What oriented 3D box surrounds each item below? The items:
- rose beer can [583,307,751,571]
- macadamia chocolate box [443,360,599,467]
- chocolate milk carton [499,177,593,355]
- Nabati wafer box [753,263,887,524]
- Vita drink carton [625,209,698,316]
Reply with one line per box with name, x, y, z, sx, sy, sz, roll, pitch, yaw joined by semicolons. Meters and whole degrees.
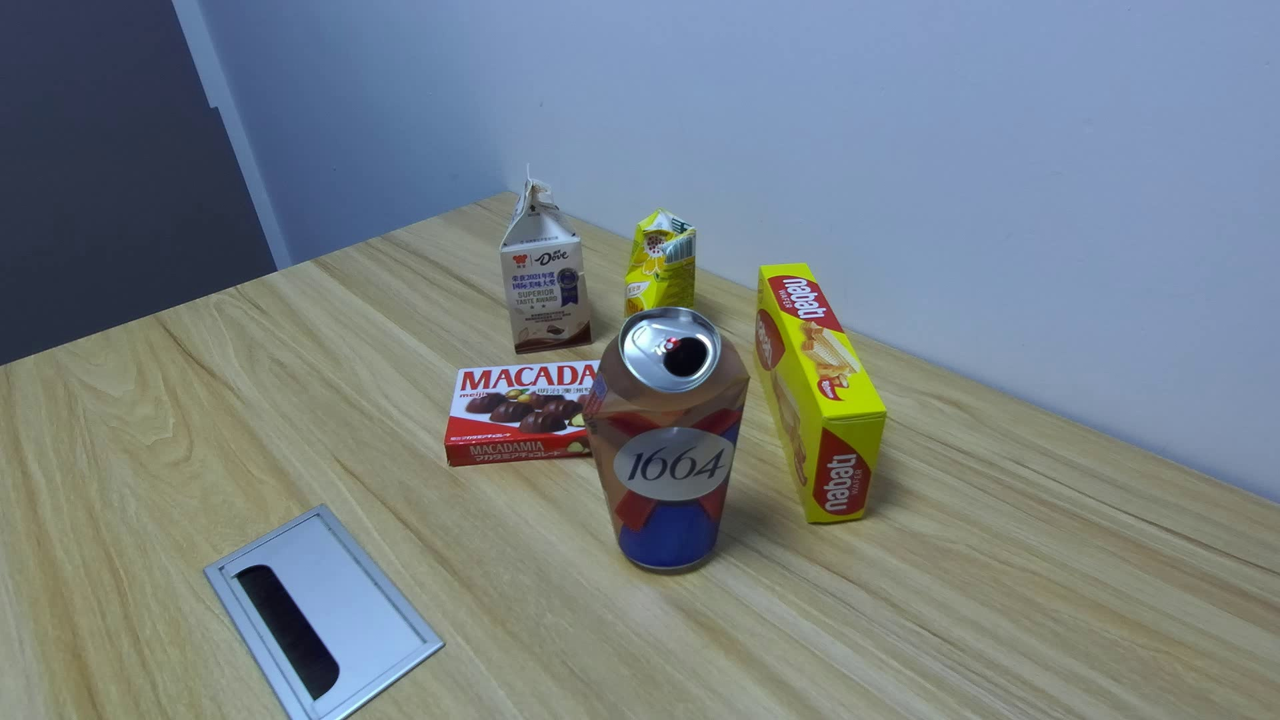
rose beer can;0.016;0.050;0.411;0.069;0.168;0.069;28;47;32
macadamia chocolate box;-0.055;0.039;0.565;0.187;0.027;0.102;-5;37;-4
chocolate milk carton;-0.088;-0.093;0.638;0.073;0.155;0.084;-7;33;-7
Nabati wafer box;0.124;0.014;0.523;0.042;0.093;0.202;-4;35;-1
Vita drink carton;0.016;-0.074;0.643;0.046;0.110;0.071;-16;35;-24
